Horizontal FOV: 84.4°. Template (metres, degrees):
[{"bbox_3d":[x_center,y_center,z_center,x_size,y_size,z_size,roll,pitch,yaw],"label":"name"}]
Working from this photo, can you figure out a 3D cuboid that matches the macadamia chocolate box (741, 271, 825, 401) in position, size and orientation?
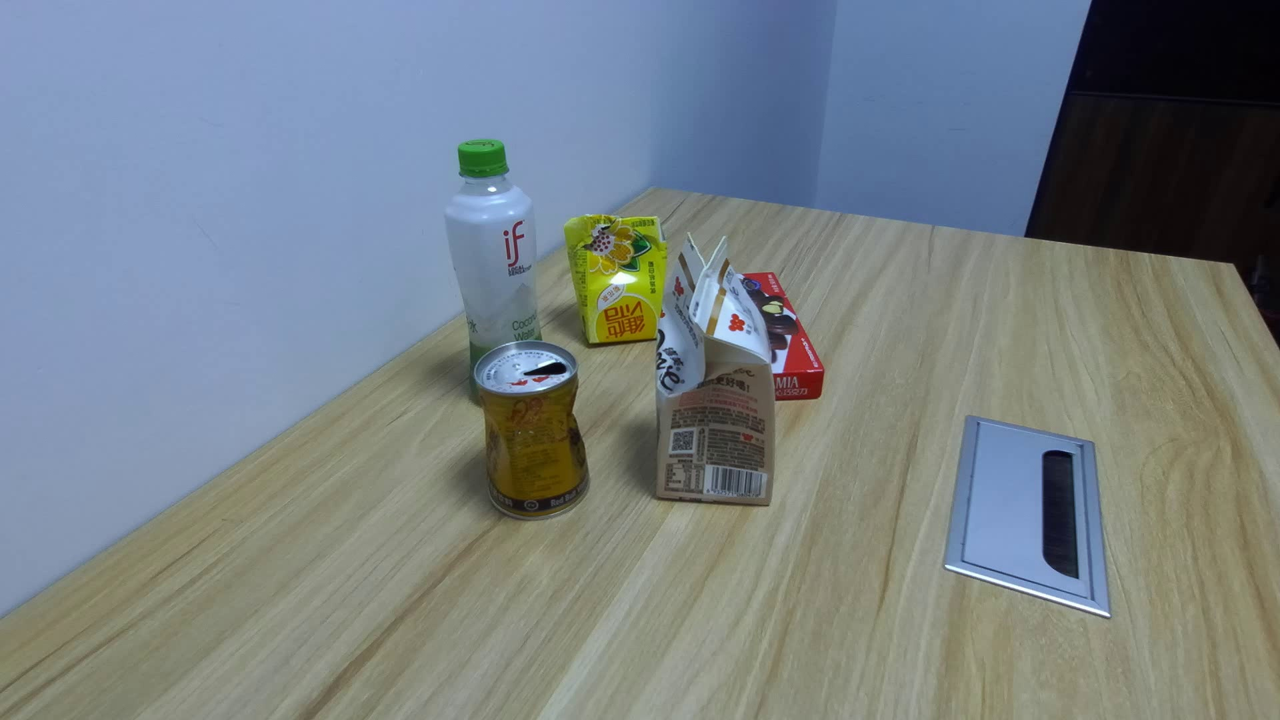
[{"bbox_3d":[0.087,-0.023,0.604,0.095,0.027,0.177,-5,31,0],"label":"macadamia chocolate box"}]

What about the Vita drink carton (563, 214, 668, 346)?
[{"bbox_3d":[-0.020,-0.072,0.610,0.087,0.108,0.042,-4,17,-9],"label":"Vita drink carton"}]

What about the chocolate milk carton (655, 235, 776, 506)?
[{"bbox_3d":[0.047,0.005,0.429,0.073,0.156,0.076,2,31,8],"label":"chocolate milk carton"}]

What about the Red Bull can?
[{"bbox_3d":[-0.065,0.043,0.435,0.072,0.092,0.072,-1,31,1],"label":"Red Bull can"}]

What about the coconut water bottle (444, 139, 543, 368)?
[{"bbox_3d":[-0.103,-0.058,0.508,0.063,0.189,0.063,0,29,1],"label":"coconut water bottle"}]
